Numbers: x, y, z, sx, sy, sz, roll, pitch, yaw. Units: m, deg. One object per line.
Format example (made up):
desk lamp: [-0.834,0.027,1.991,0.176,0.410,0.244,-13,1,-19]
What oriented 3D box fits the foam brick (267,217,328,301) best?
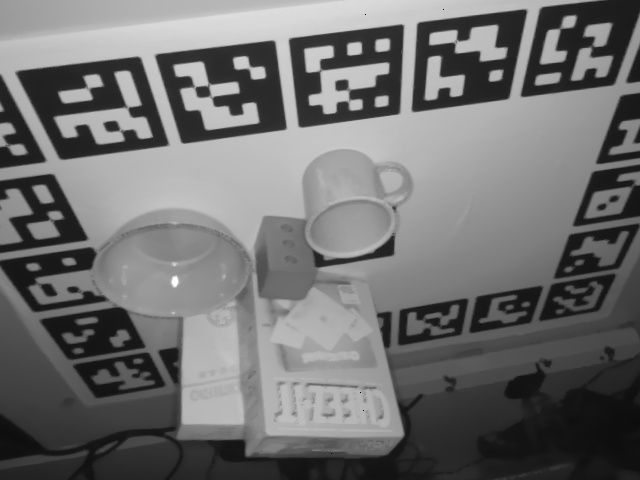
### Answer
foam brick: [-0.026,0.021,0.759,0.053,0.078,0.050,2,136,-15]

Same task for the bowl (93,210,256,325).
bowl: [-0.149,0.020,0.724,0.162,0.055,0.160,-7,136,-6]

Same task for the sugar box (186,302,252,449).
sugar box: [-0.106,0.150,0.797,0.094,0.177,0.044,7,134,-19]

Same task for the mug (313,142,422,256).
mug: [0.051,-0.046,0.691,0.117,0.082,0.093,-16,145,1]

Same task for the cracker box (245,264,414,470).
cracker box: [0.005,0.138,0.785,0.166,0.215,0.071,14,134,-24]
